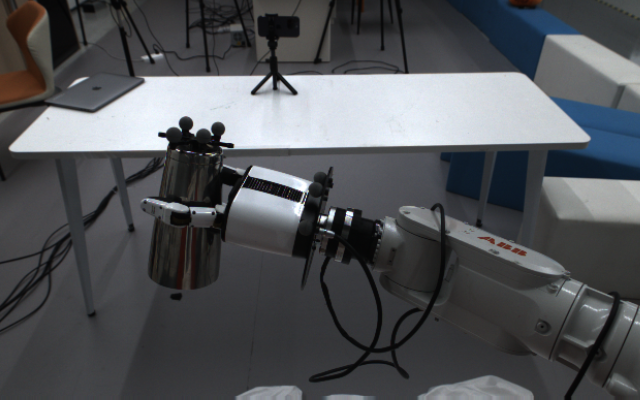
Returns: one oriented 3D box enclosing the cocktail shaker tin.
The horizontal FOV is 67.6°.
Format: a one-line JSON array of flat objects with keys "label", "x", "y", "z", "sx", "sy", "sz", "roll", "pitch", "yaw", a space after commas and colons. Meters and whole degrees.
[{"label": "cocktail shaker tin", "x": -0.163, "y": 0.015, "z": 0.609, "sx": 0.093, "sy": 0.170, "sz": 0.093, "roll": 10, "pitch": 19, "yaw": -3}]
